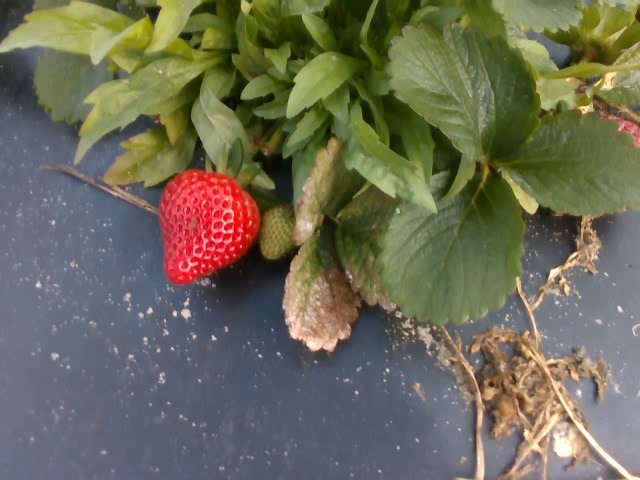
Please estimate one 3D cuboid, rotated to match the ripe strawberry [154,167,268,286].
[{"bbox_3d":[-0.045,-0.003,0.226,0.043,0.051,0.043,18,-25,5],"label":"ripe strawberry"}]
